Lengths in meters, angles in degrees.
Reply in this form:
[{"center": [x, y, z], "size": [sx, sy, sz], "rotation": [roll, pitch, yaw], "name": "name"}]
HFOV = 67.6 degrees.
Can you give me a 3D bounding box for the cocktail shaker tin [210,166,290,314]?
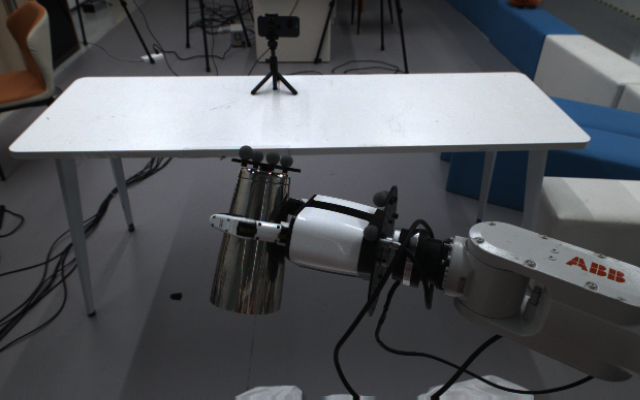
[{"center": [-0.081, 0.049, 0.616], "size": [0.093, 0.170, 0.093], "rotation": [9, 3, 0], "name": "cocktail shaker tin"}]
